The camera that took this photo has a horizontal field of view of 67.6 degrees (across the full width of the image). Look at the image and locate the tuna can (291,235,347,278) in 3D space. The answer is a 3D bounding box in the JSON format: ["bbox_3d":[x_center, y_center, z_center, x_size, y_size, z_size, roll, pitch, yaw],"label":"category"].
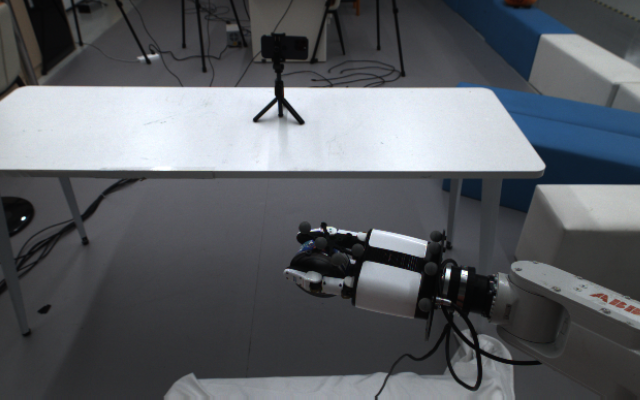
[{"bbox_3d":[0.004,0.098,0.706,0.085,0.085,0.034,12,33,14],"label":"tuna can"}]
